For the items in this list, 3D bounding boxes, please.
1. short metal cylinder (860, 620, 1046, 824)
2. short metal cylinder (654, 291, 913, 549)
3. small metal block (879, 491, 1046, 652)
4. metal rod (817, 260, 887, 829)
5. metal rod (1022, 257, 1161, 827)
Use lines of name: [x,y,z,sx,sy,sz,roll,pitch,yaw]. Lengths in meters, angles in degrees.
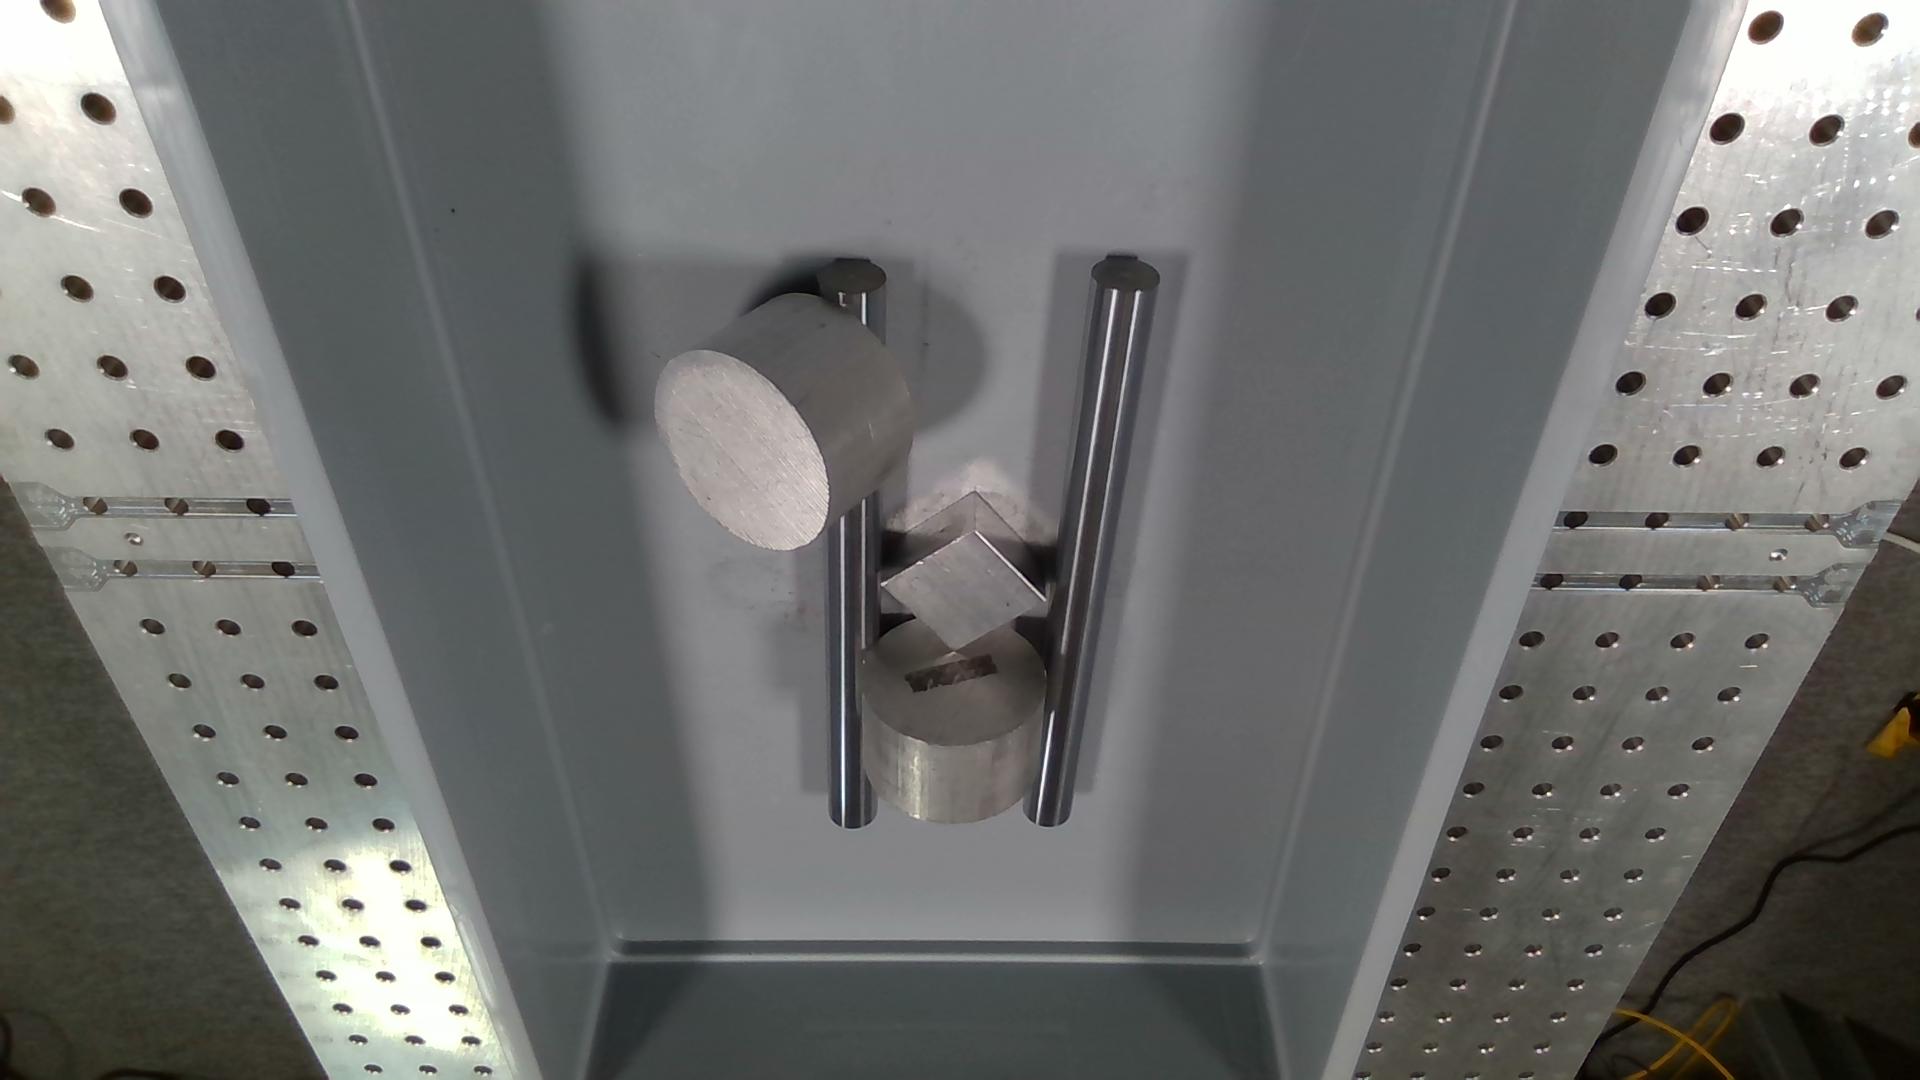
short metal cylinder: [-0.004,0.078,0.608,0.080,0.080,0.050,1,130,-1]
short metal cylinder: [-0.064,-0.044,0.502,0.080,0.050,0.080,23,133,26]
small metal block: [0.001,0.014,0.589,0.050,0.025,0.050,-31,124,23]
metal rod: [-0.047,0.020,0.594,0.025,0.025,0.301,2,130,-2]
metal rod: [0.052,0.019,0.593,0.025,0.025,0.301,2,130,-2]
